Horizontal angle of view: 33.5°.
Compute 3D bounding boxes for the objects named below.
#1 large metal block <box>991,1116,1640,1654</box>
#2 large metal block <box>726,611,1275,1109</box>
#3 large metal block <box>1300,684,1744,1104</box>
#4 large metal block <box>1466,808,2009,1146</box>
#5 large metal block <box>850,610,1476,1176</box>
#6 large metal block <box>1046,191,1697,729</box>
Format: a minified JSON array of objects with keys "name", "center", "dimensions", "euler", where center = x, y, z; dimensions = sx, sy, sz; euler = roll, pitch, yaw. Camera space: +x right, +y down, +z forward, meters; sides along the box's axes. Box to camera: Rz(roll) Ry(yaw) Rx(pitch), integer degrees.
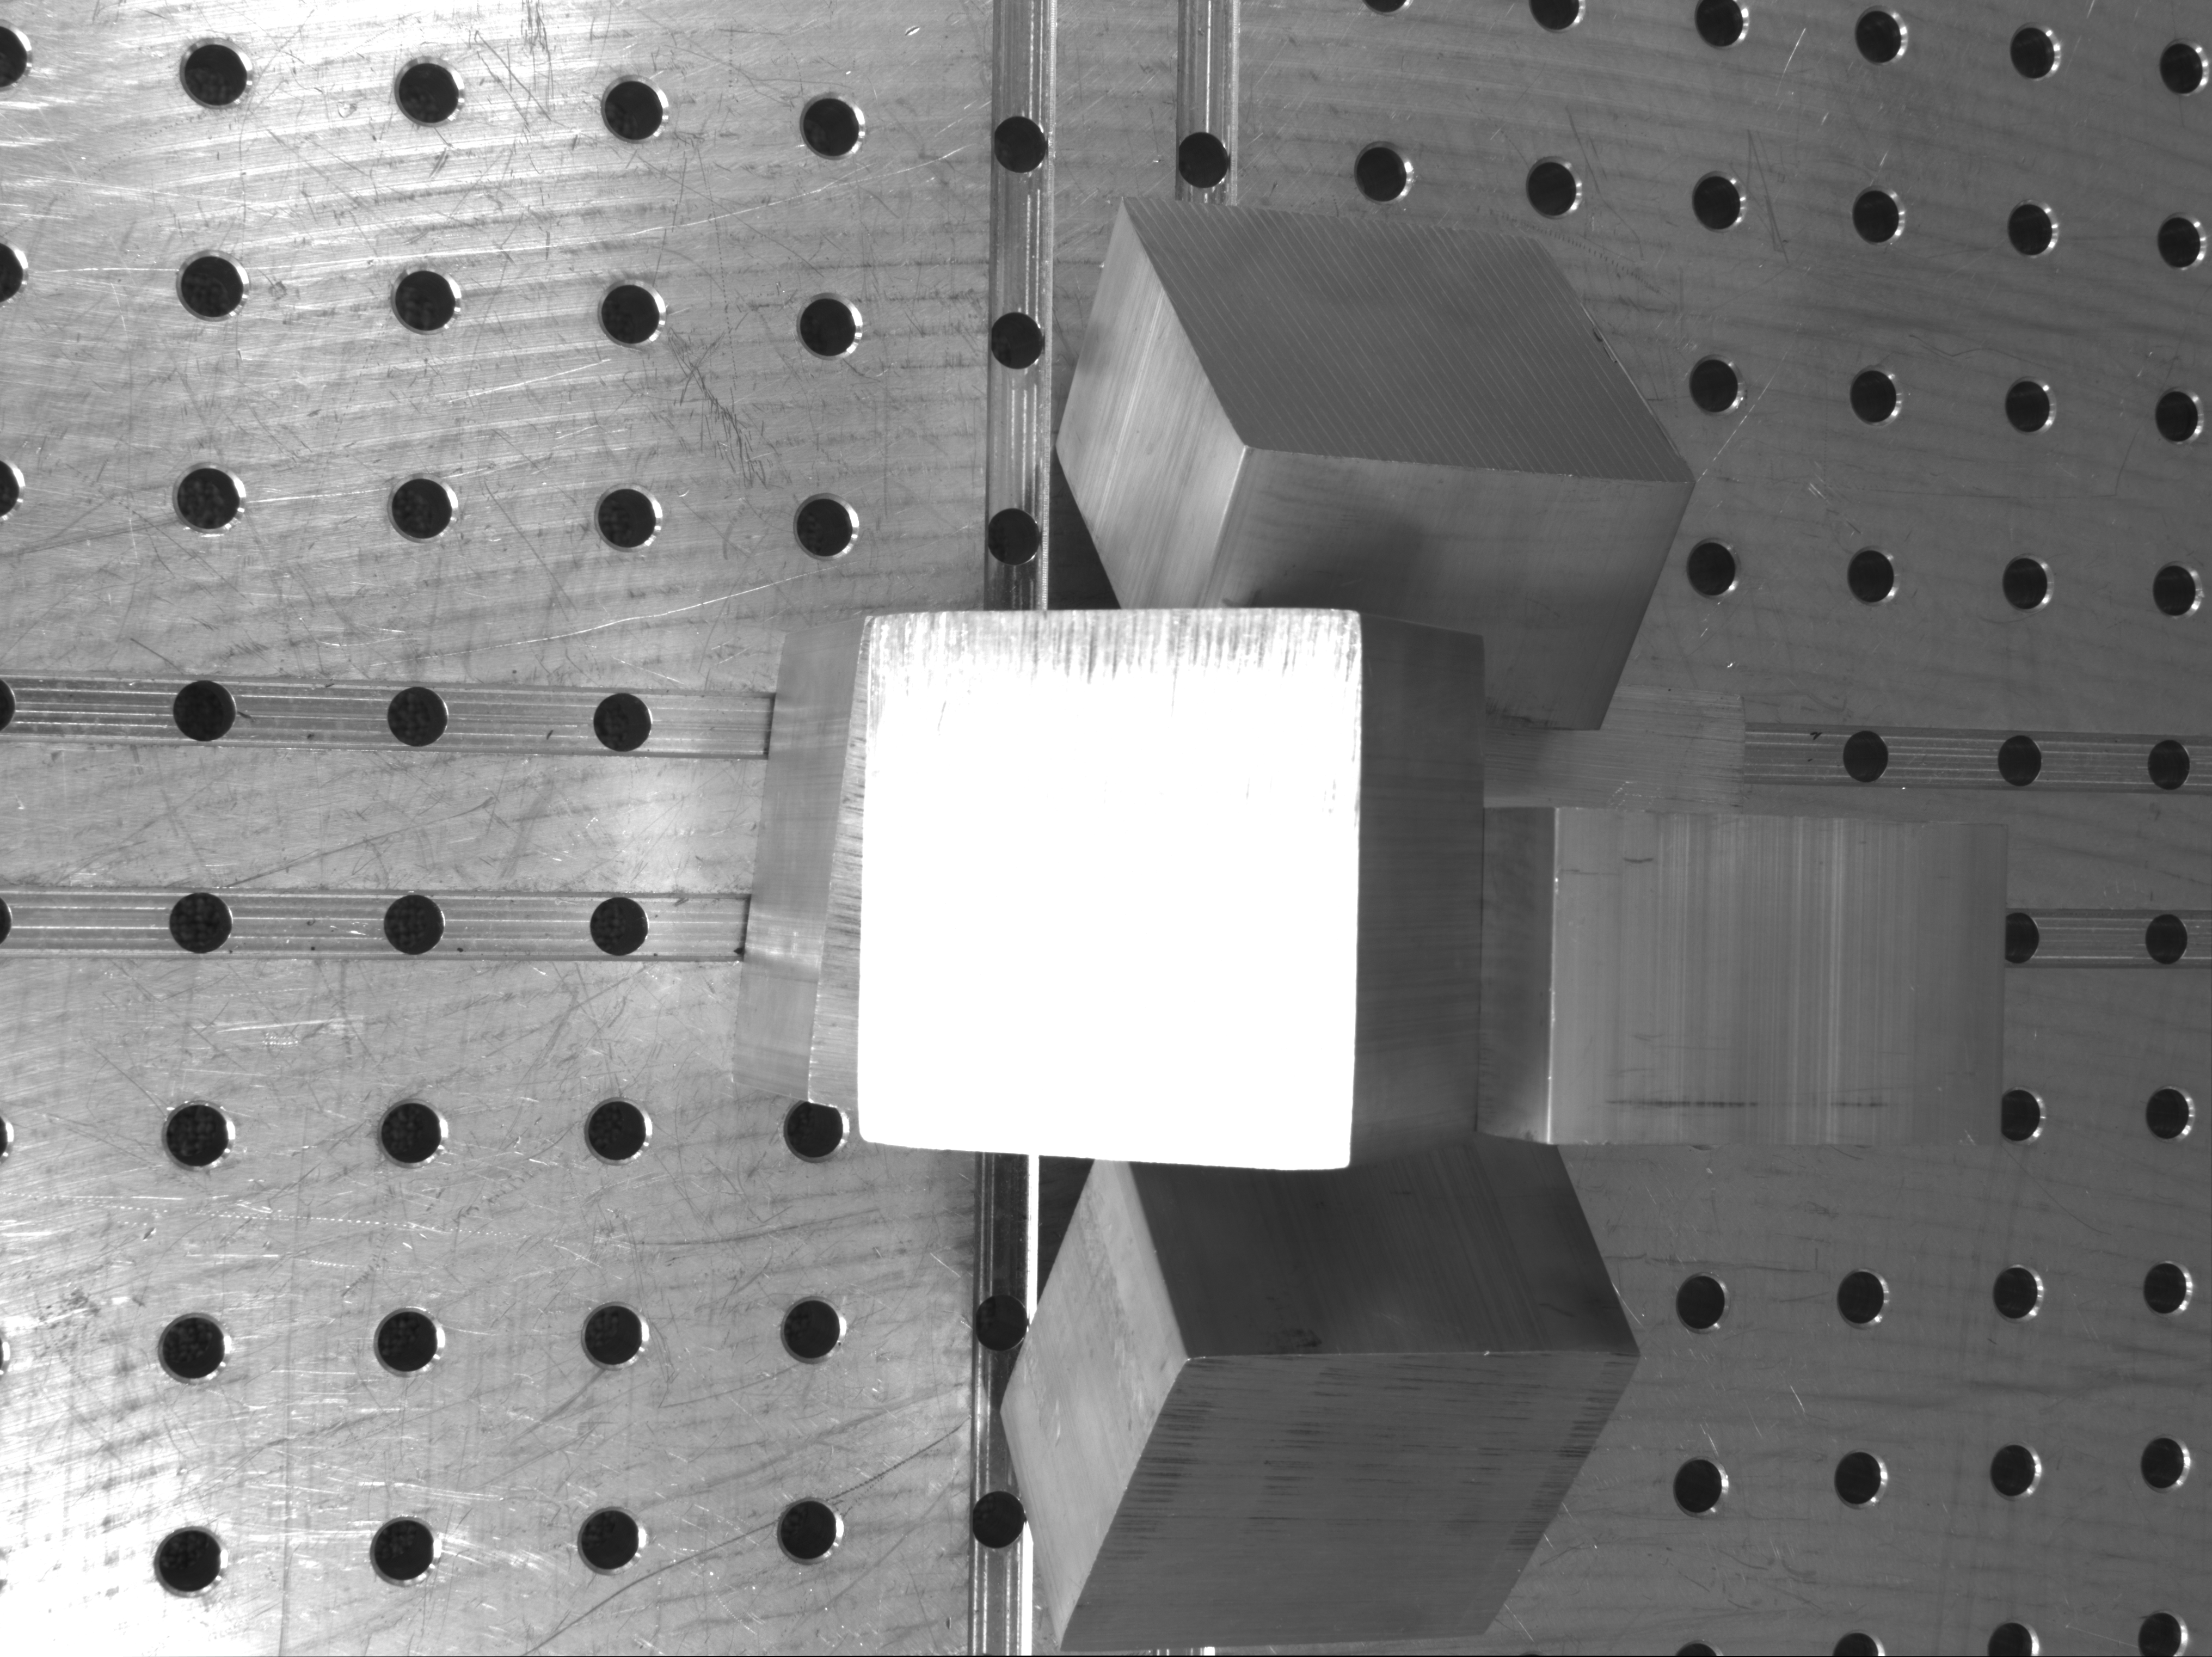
[{"name":"large metal block","center":[0.033,0.095,0.623],"dimensions":[0.080,0.050,0.080],"euler":[3,134,-20]},{"name":"large metal block","center":[-0.016,0.010,0.627],"dimensions":[0.080,0.050,0.080],"euler":[7,87,-20]},{"name":"large metal block","center":[0.064,0.014,0.656],"dimensions":[0.080,0.050,0.080],"euler":[3,89,-20]},{"name":"large metal block","center":[0.089,0.023,0.596],"dimensions":[0.080,0.080,0.050],"euler":[2,89,-20]},{"name":"large metal block","center":[0.009,0.009,0.558],"dimensions":[0.080,0.050,0.080],"euler":[1,90,25]},{"name":"large metal block","center":[0.042,-0.063,0.624],"dimensions":[0.080,0.080,0.050],"euler":[2,127,-20]}]
